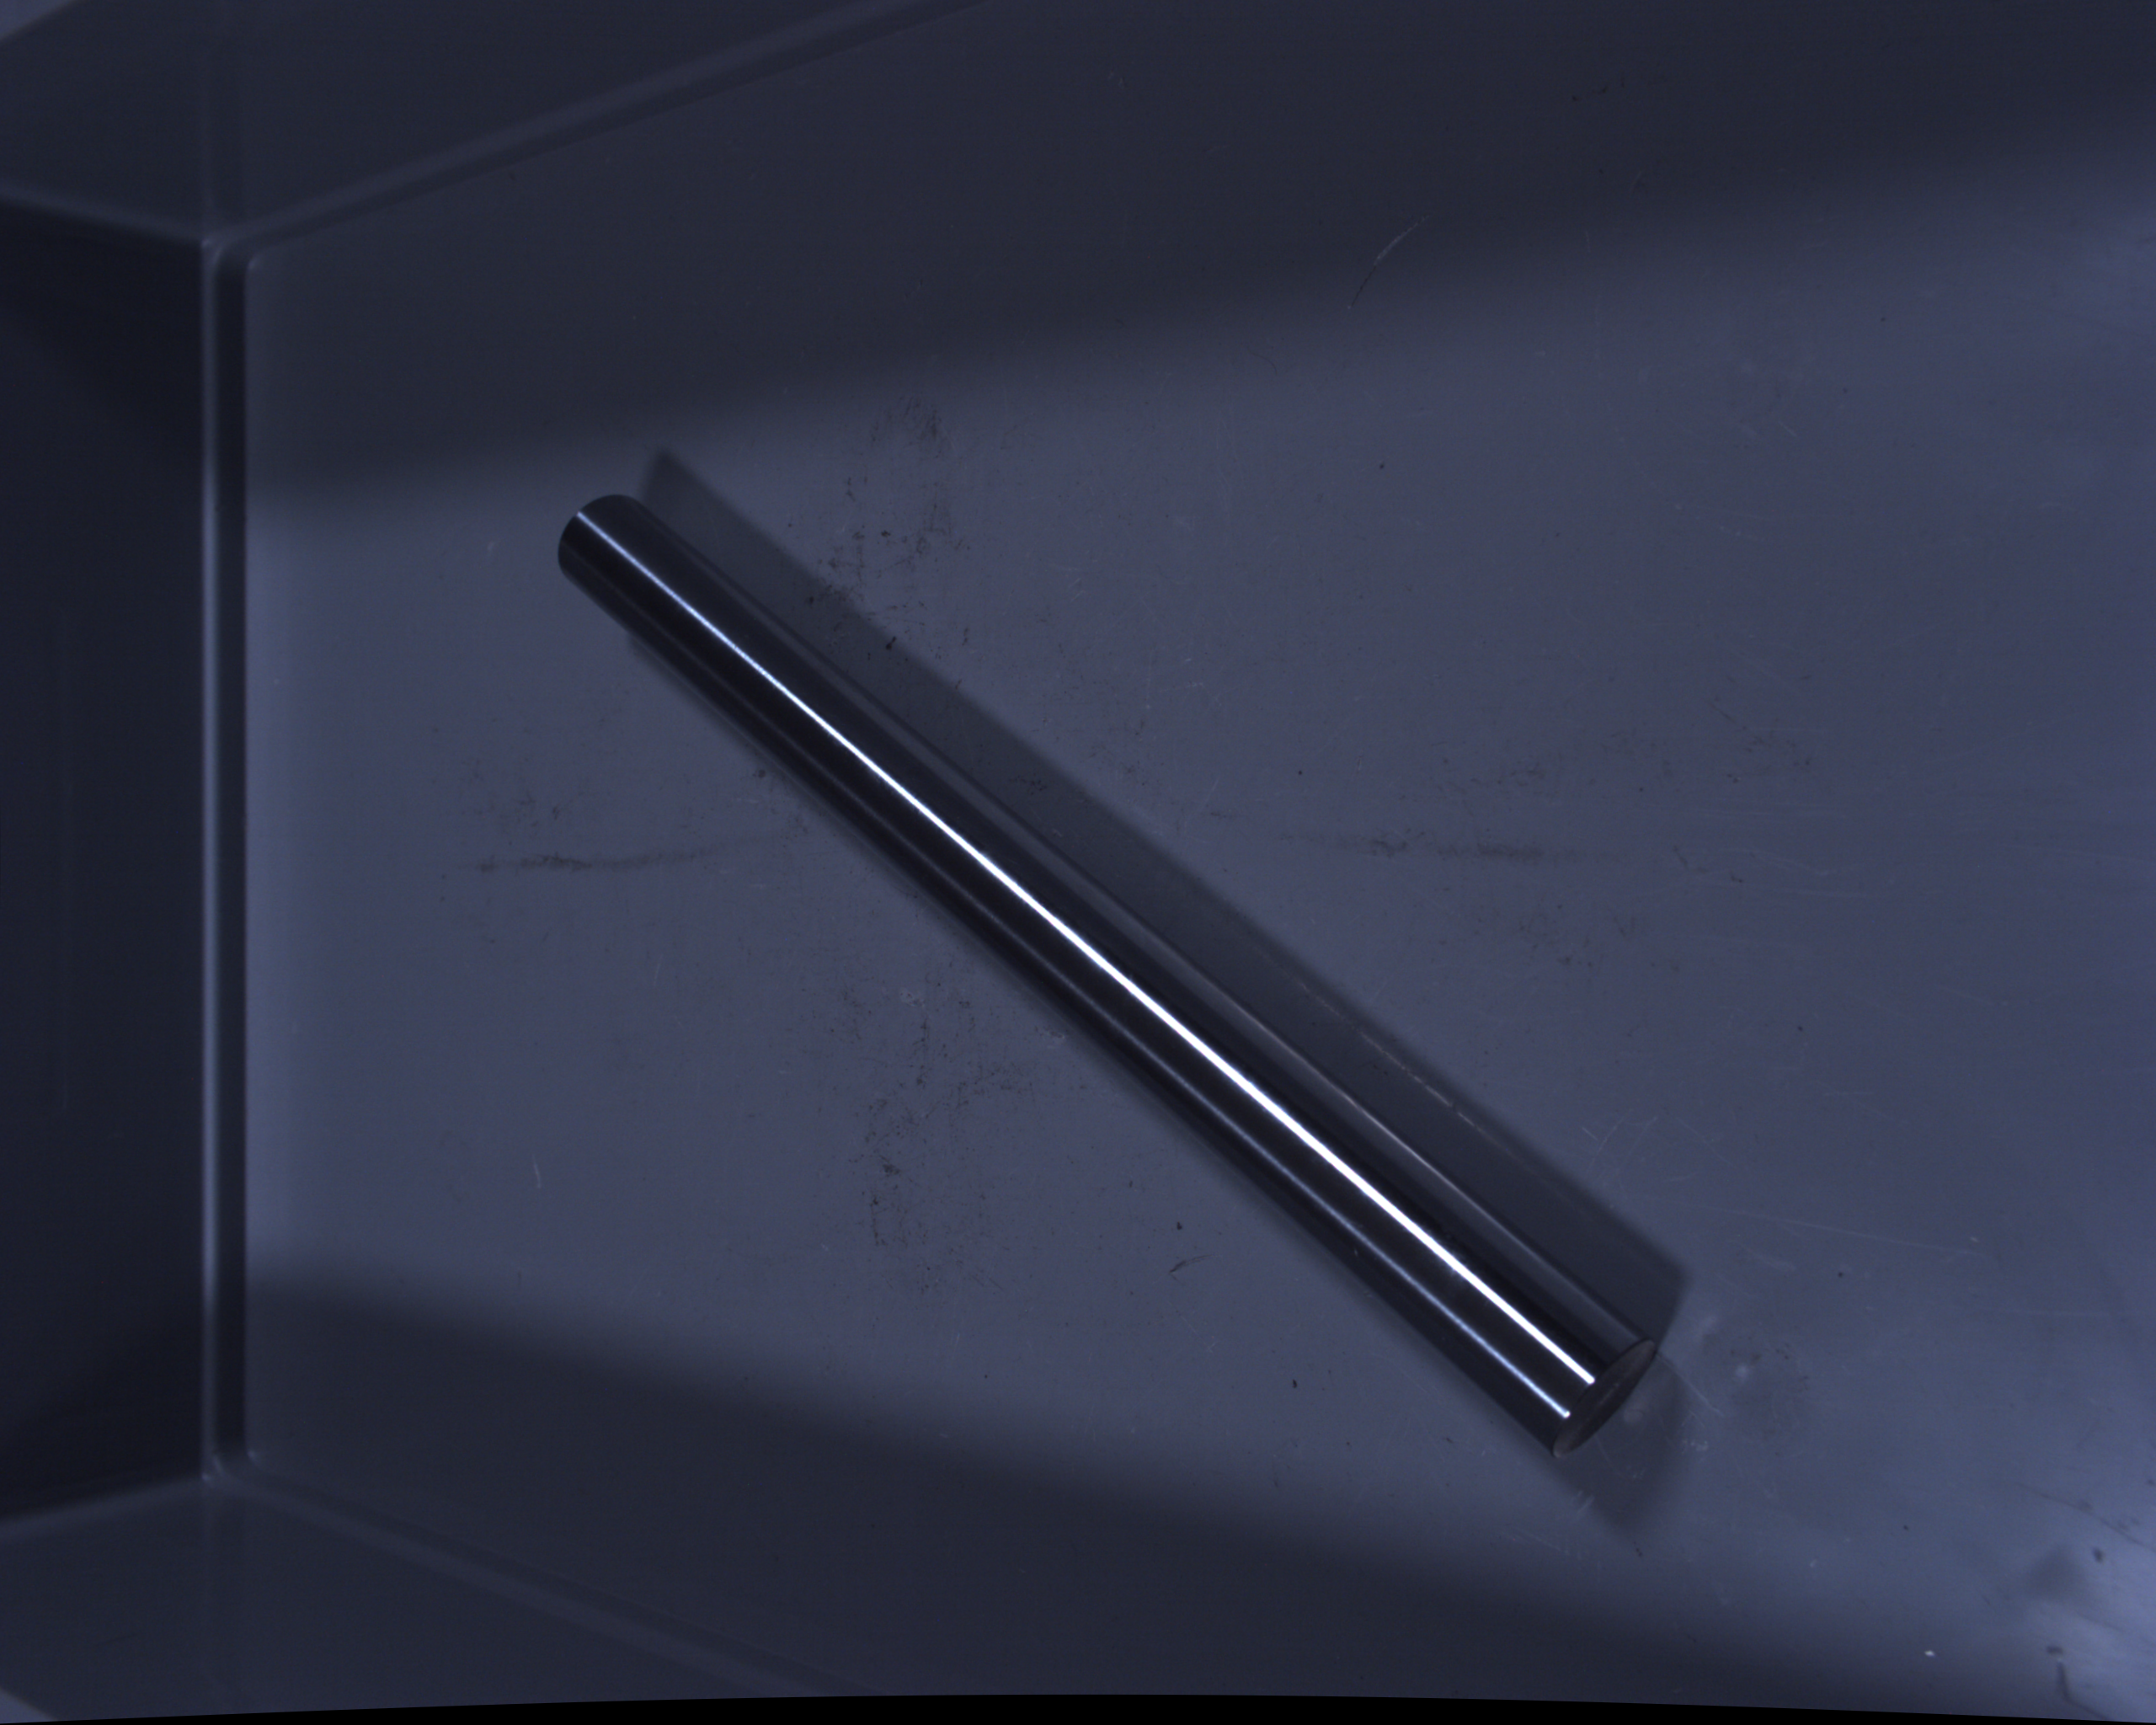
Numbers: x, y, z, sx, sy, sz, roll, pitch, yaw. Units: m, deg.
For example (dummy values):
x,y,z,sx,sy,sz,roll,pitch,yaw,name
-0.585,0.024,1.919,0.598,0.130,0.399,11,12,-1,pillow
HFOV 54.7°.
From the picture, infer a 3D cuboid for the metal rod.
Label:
x,y,z,sx,sy,sz,roll,pitch,yaw,name
-0.014,0.005,0.413,0.300,0.025,0.025,40,114,32,metal rod
